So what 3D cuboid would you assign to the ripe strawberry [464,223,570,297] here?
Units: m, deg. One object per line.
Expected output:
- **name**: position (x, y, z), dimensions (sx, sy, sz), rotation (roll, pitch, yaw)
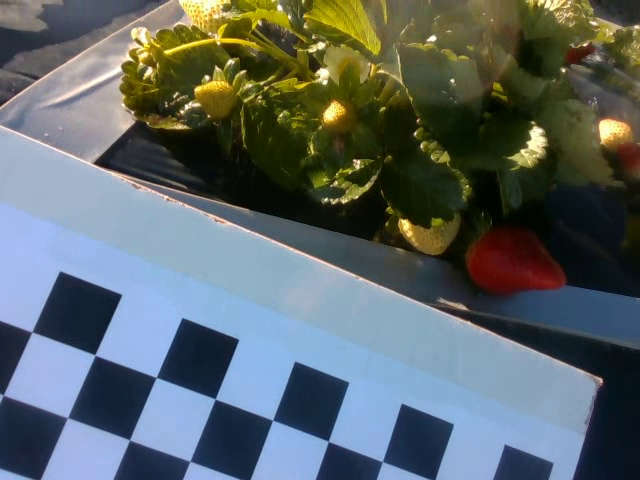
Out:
- **ripe strawberry**: position (0.103, 0.013, 0.322), dimensions (0.049, 0.045, 0.064), rotation (53, -12, -31)
